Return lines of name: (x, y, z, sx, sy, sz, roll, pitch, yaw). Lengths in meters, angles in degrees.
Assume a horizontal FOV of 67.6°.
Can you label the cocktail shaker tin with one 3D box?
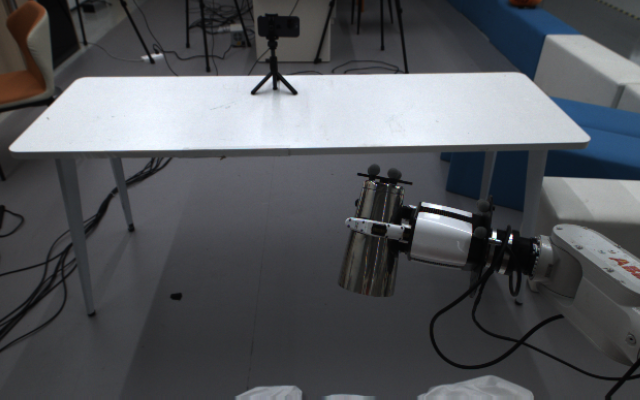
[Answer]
cocktail shaker tin: (0.088, 0.057, 0.772, 0.093, 0.170, 0.093, 10, 3, -1)
